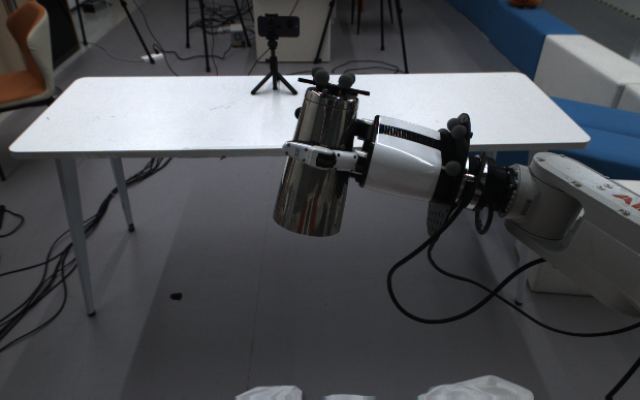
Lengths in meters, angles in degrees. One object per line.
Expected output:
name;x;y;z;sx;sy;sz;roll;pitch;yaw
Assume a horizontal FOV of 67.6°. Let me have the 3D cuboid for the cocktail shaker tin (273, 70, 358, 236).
cocktail shaker tin;0.000;-0.051;0.614;0.093;0.170;0.093;11;19;-4
